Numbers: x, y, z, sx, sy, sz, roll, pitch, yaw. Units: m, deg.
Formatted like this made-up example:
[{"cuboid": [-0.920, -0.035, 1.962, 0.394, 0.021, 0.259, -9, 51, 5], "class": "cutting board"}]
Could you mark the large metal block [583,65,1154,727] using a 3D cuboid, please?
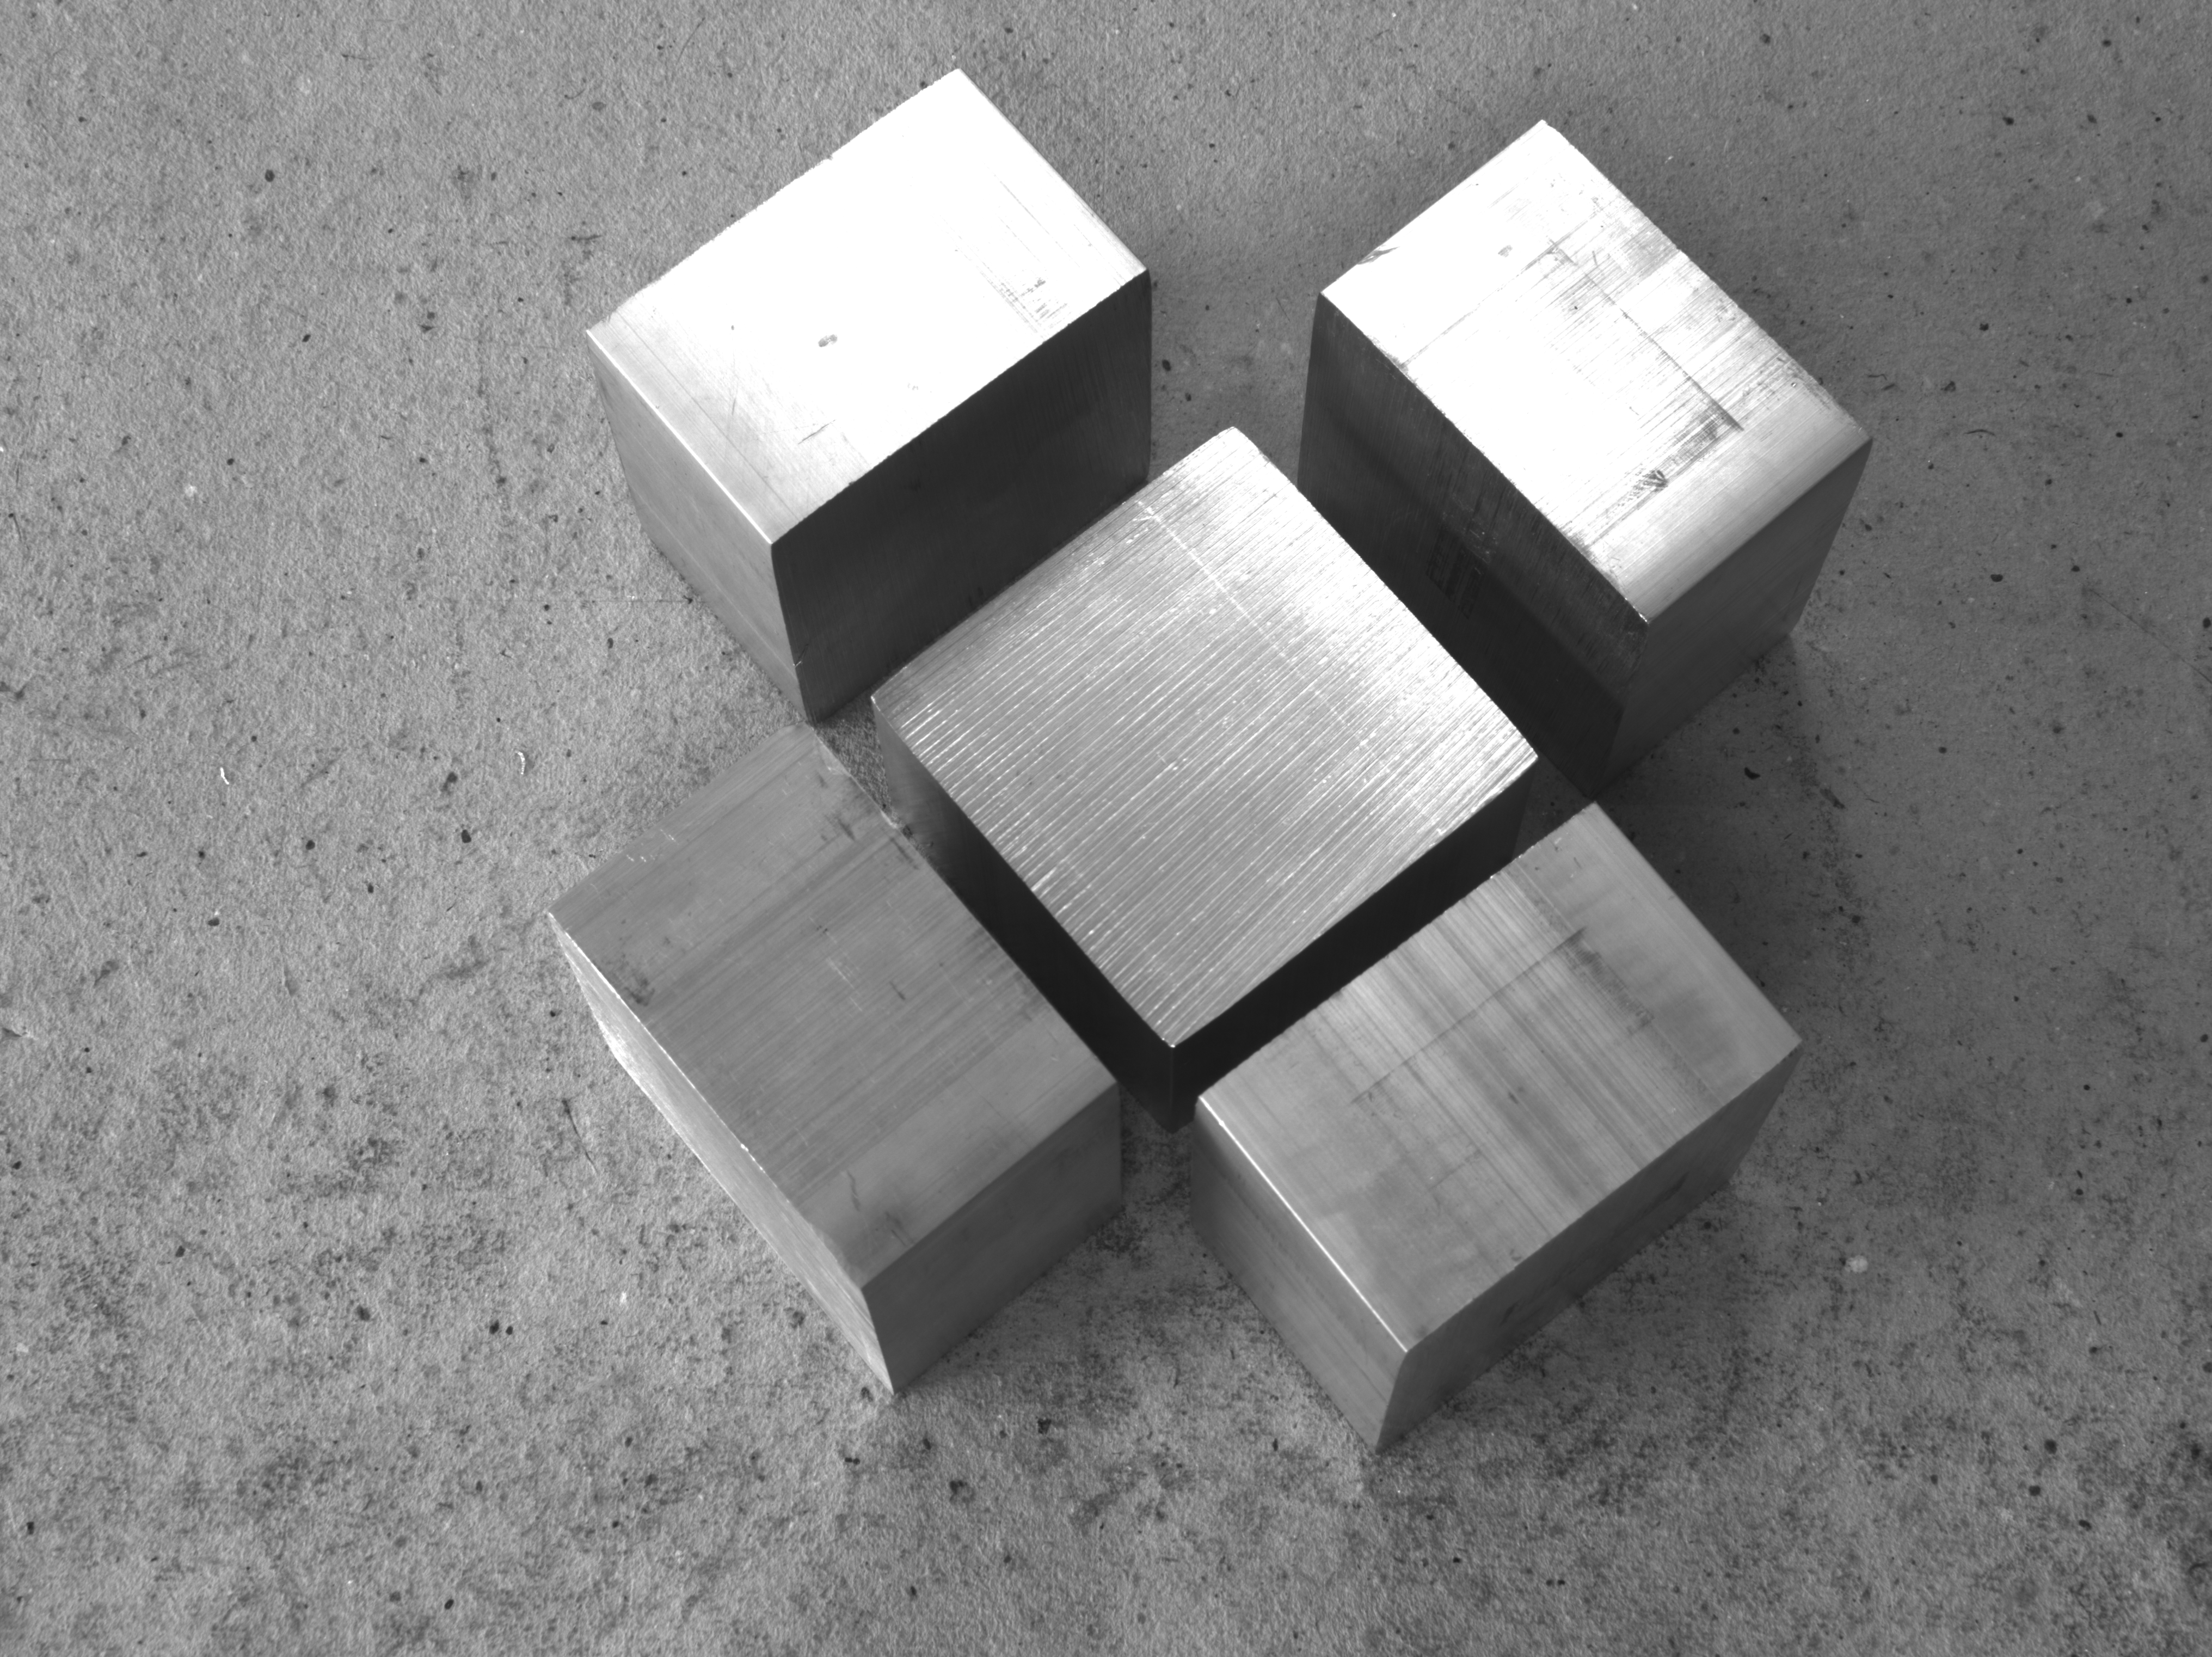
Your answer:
[{"cuboid": [-0.039, -0.073, 0.644, 0.080, 0.080, 0.050, -38, 74, -13], "class": "large metal block"}]

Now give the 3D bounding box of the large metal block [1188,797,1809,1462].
[{"cuboid": [0.061, 0.051, 0.597, 0.080, 0.080, 0.050, -36, 73, -12], "class": "large metal block"}]

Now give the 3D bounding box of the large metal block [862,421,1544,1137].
[{"cuboid": [0.016, -0.008, 0.633, 0.080, 0.050, 0.080, -38, 74, -13], "class": "large metal block"}]

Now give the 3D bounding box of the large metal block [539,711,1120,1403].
[{"cuboid": [-0.043, 0.039, 0.601, 0.050, 0.080, 0.080, -38, 74, -13], "class": "large metal block"}]

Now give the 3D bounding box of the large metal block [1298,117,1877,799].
[{"cuboid": [0.080, -0.062, 0.639, 0.050, 0.080, 0.080, -39, 74, -13], "class": "large metal block"}]
